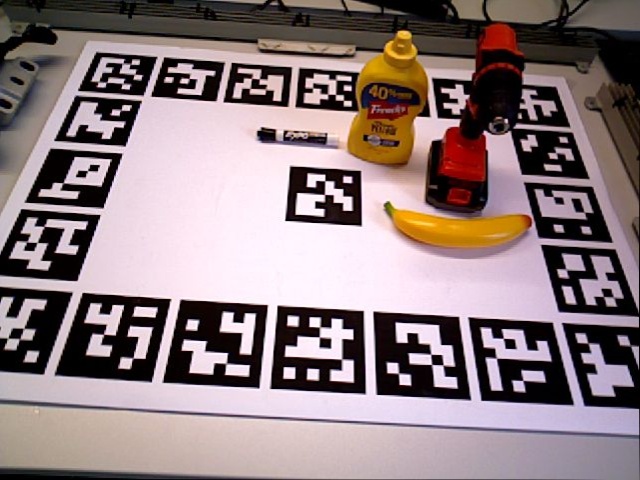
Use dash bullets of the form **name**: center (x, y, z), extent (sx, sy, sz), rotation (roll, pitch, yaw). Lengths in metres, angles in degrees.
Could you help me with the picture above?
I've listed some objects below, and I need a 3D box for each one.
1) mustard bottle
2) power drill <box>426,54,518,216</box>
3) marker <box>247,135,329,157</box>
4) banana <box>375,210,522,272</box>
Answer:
- **mustard bottle**: center (0.085, -0.172, 0.728), extent (0.096, 0.196, 0.057), rotation (15, 55, 4)
- **power drill**: center (0.188, -0.120, 0.680), extent (0.057, 0.191, 0.181), rotation (17, 53, 4)
- **marker**: center (-0.047, -0.140, 0.802), extent (0.120, 0.020, 0.019), rotation (7, 56, 0)
- **banana**: center (0.166, 0.007, 0.710), extent (0.197, 0.039, 0.073), rotation (11, 57, 5)
